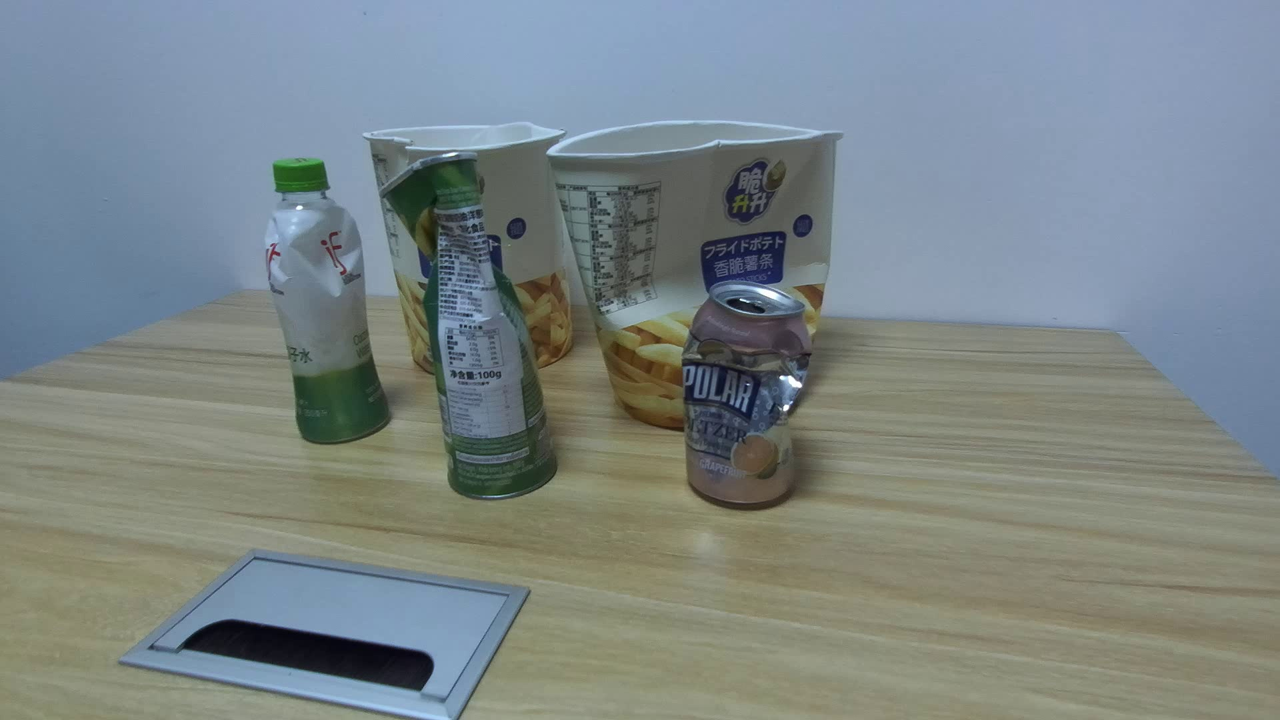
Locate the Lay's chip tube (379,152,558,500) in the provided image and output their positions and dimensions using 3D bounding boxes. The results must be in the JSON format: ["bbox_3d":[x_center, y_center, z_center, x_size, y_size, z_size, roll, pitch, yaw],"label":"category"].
[{"bbox_3d":[-0.100,-0.018,0.417,0.071,0.199,0.079,-7,21,6],"label":"Lay's chip tube"}]

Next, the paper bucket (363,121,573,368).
[{"bbox_3d":[-0.136,-0.100,0.615,0.146,0.197,0.201,-16,26,-28],"label":"paper bucket"}]

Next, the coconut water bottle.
[{"bbox_3d":[-0.217,-0.040,0.484,0.067,0.187,0.067,0,22,0],"label":"coconut water bottle"}]

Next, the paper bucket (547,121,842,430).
[{"bbox_3d":[0.052,-0.067,0.517,0.147,0.199,0.218,10,25,25],"label":"paper bucket"}]
